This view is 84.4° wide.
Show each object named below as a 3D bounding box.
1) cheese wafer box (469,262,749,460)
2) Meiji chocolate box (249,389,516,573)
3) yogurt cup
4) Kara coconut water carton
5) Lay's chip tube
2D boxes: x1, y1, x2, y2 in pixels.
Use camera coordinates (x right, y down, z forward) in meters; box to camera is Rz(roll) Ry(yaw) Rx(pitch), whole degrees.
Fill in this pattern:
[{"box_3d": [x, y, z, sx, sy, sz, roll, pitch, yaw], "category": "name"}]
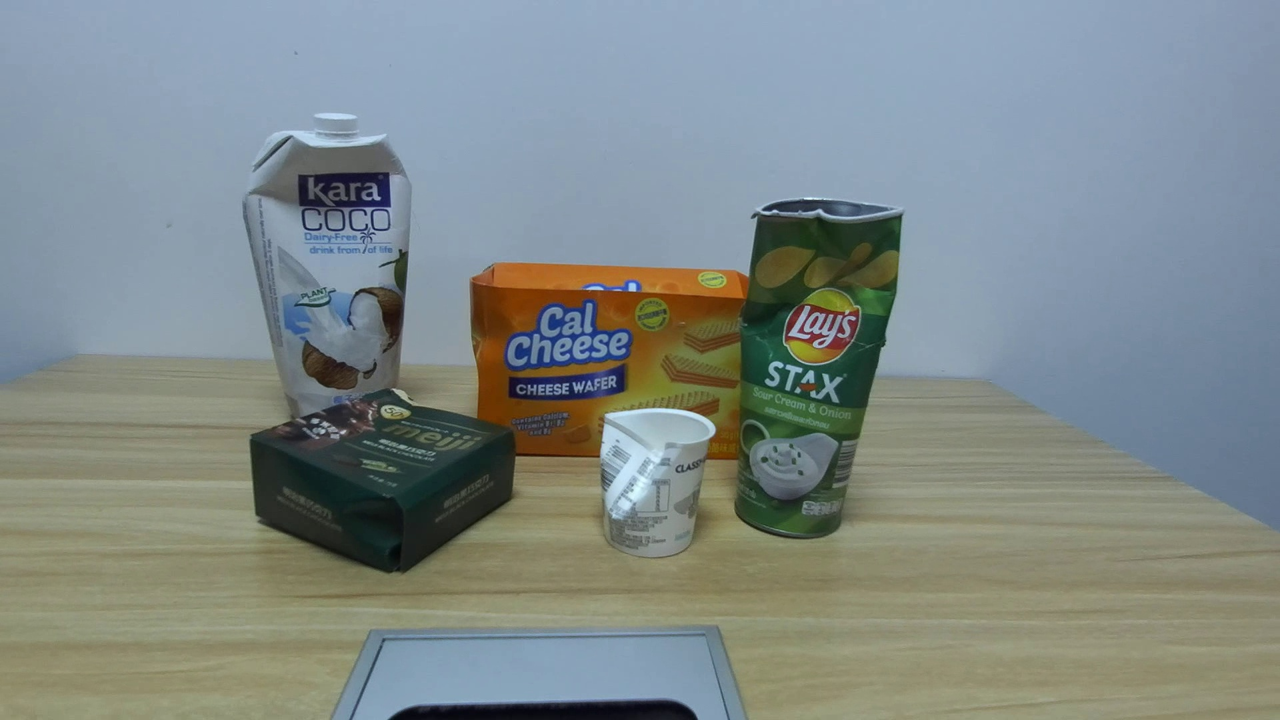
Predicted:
[{"box_3d": [-0.018, -0.003, 0.579, 0.231, 0.132, 0.152, 3, 16, -5], "category": "cheese wafer box"}, {"box_3d": [-0.149, 0.069, 0.425, 0.115, 0.058, 0.123, 13, 18, 22], "category": "Meiji chocolate box"}, {"box_3d": [0.010, 0.071, 0.413, 0.067, 0.070, 0.067, 2, 15, 0], "category": "yogurt cup"}, {"box_3d": [-0.236, -0.066, 0.545, 0.116, 0.238, 0.069, -10, 23, -39], "category": "Kara coconut water carton"}, {"box_3d": [0.102, 0.005, 0.432, 0.077, 0.201, 0.069, 0, 15, -2], "category": "Lay's chip tube"}]
